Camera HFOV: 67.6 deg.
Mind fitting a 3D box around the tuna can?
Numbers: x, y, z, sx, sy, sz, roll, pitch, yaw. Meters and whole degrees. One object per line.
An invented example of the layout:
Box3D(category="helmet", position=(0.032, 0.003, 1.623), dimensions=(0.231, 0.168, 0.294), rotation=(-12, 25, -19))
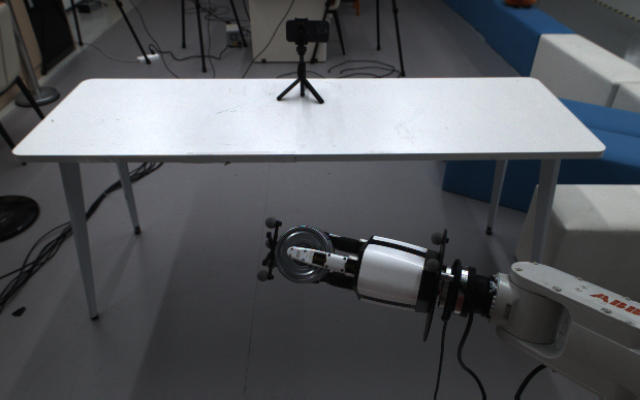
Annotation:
Box3D(category="tuna can", position=(-0.021, 0.079, 0.714), dimensions=(0.085, 0.085, 0.034), rotation=(9, -6, 10))
